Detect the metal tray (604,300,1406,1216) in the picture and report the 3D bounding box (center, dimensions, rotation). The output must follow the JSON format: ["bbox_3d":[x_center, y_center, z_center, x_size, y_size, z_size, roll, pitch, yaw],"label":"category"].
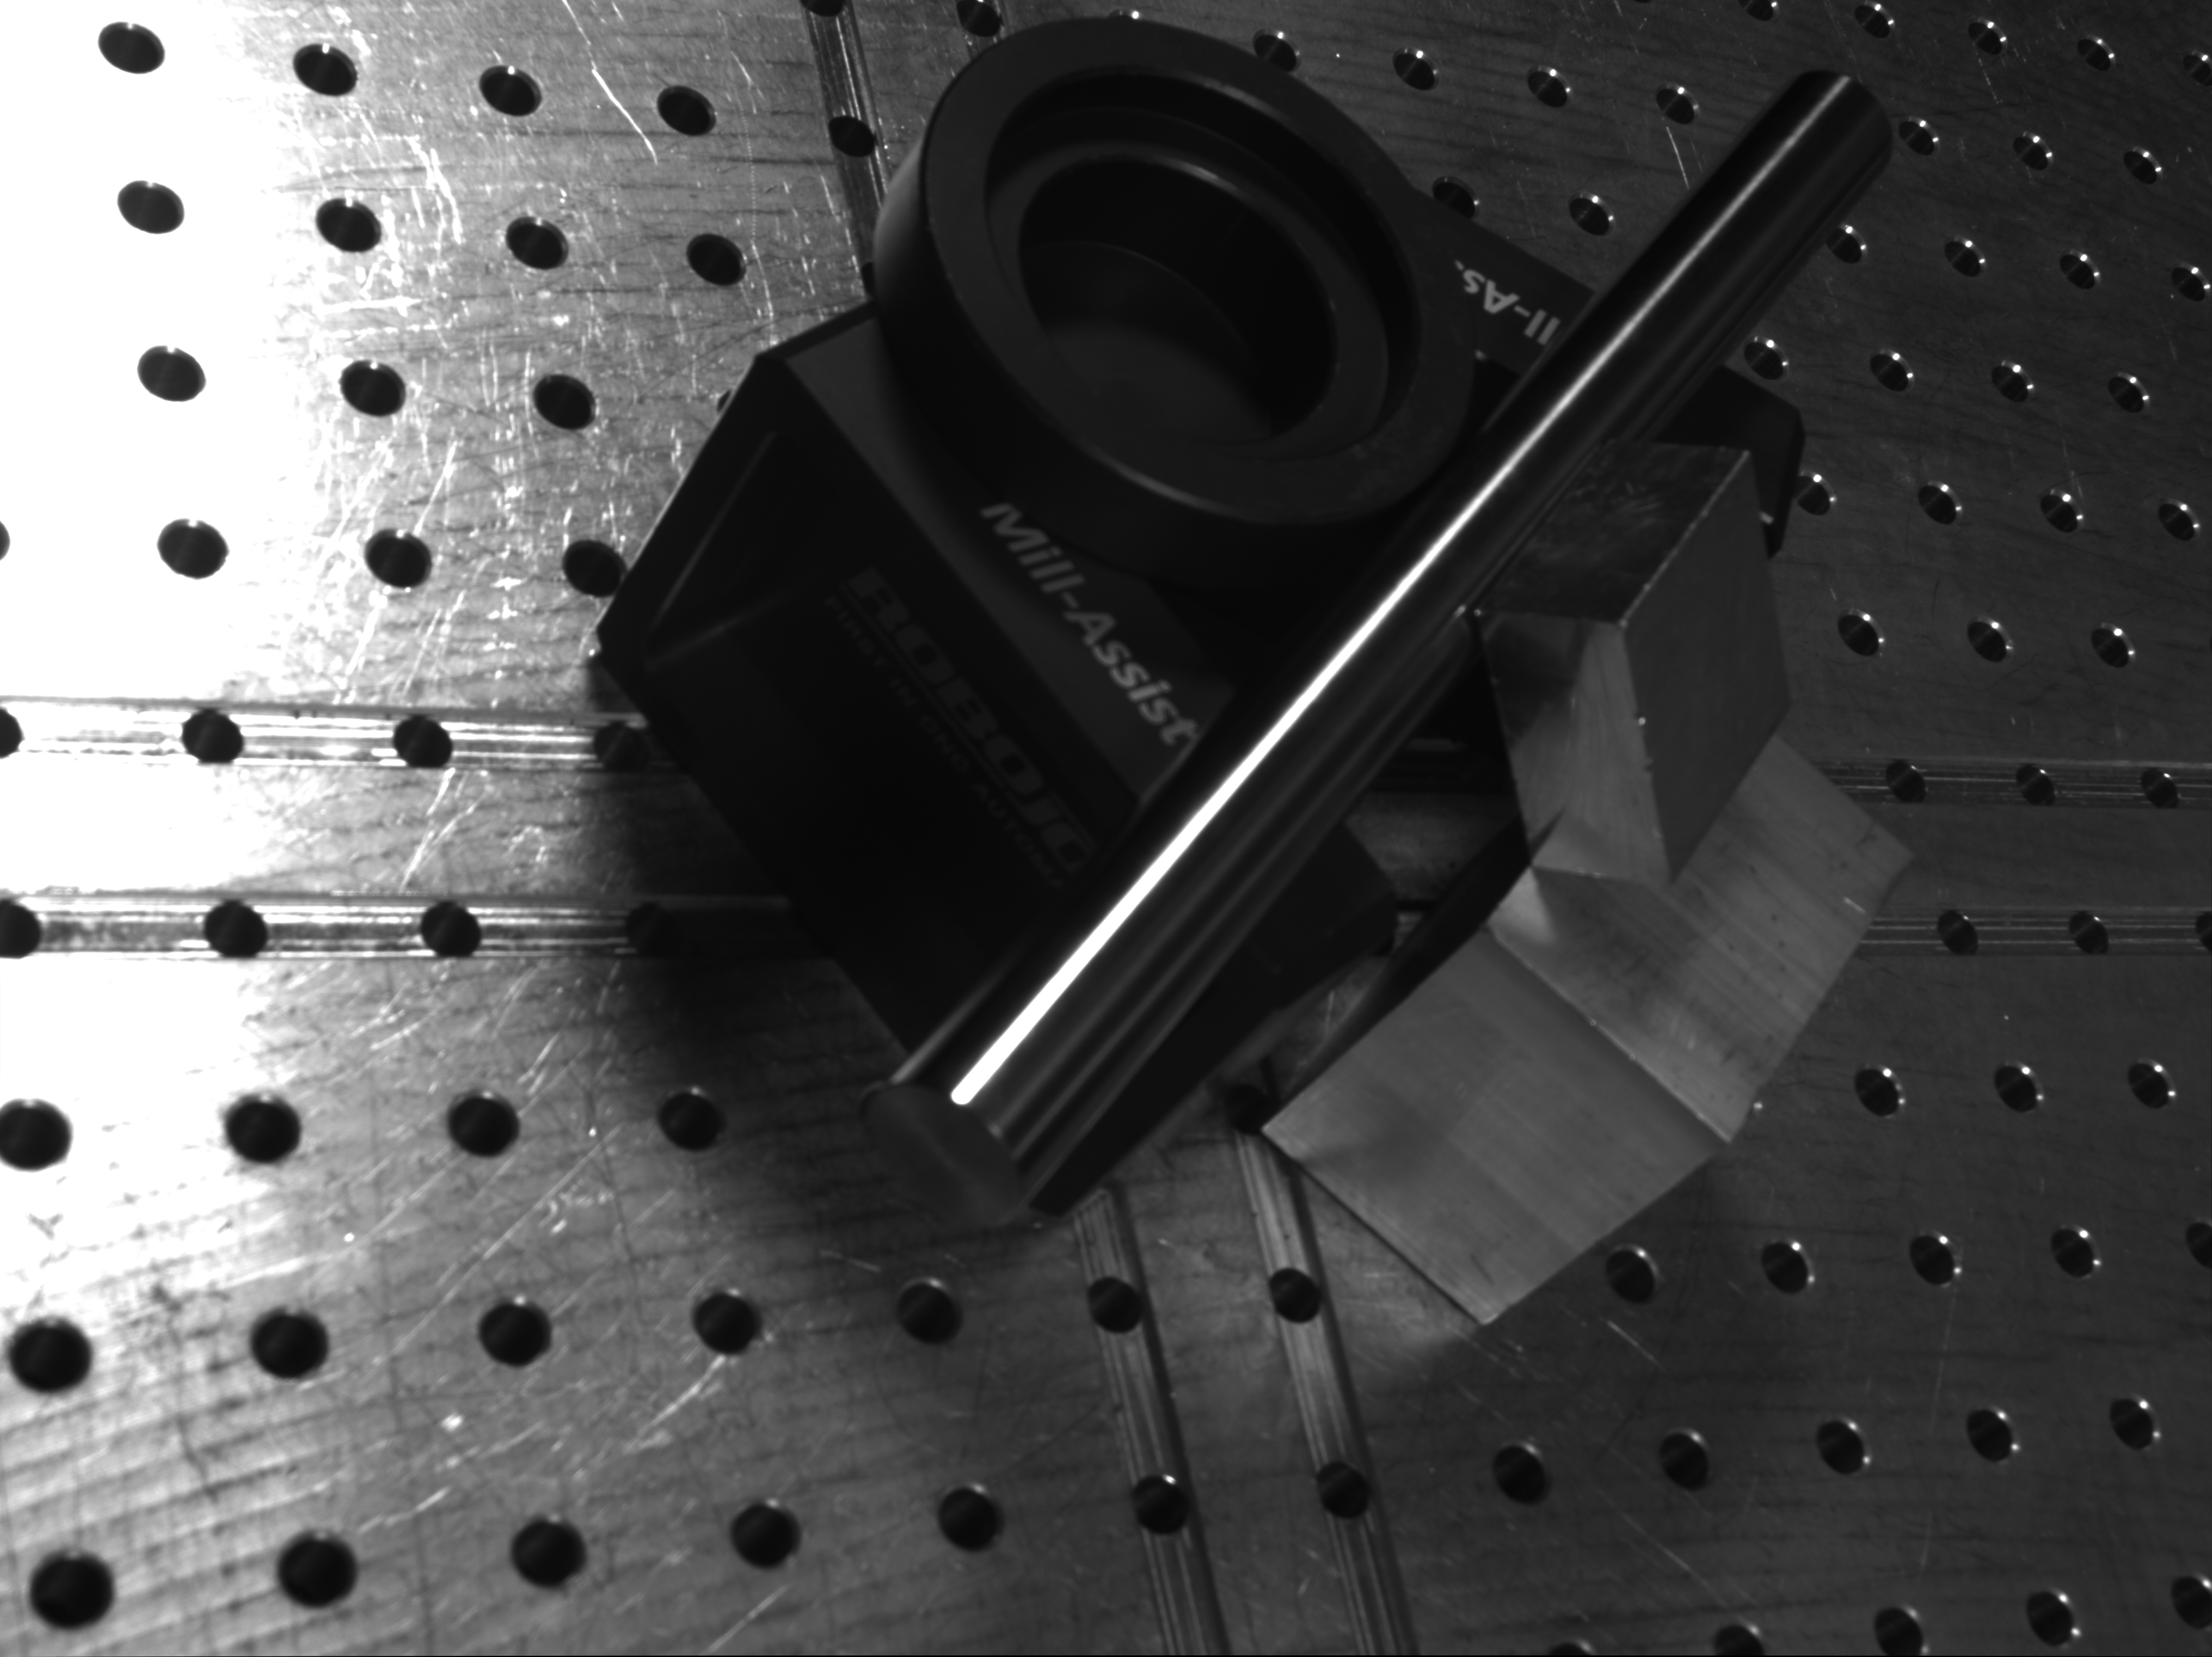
[{"bbox_3d":[-0.020,-0.011,0.596,0.030,0.090,0.130,-33,80,-38],"label":"metal tray"}]

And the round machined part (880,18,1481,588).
[{"bbox_3d":[0.009,-0.081,0.597,0.098,0.042,0.098,14,56,-21],"label":"round machined part"}]

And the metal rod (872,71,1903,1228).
[{"bbox_3d":[0.057,-0.043,0.583,0.025,0.025,0.300,42,51,1],"label":"metal rod"}]

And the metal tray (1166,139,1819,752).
[{"bbox_3d":[0.052,-0.071,0.671,0.130,0.090,0.030,28,53,-11],"label":"metal tray"}]

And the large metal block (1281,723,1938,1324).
[{"bbox_3d":[0.087,0.028,0.633,0.050,0.080,0.080,41,51,0],"label":"large metal block"}]

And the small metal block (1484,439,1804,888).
[{"bbox_3d":[0.087,-0.027,0.585,0.025,0.050,0.050,9,41,33],"label":"small metal block"}]
